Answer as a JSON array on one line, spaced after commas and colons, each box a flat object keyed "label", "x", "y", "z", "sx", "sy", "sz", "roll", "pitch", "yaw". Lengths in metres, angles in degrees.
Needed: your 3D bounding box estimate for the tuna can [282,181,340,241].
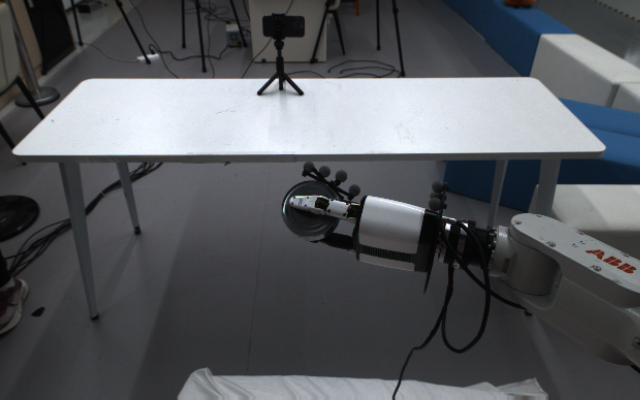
[{"label": "tuna can", "x": -0.012, "y": 0.016, "z": 0.716, "sx": 0.085, "sy": 0.034, "sz": 0.085, "roll": -2, "pitch": 71, "yaw": 6}]
